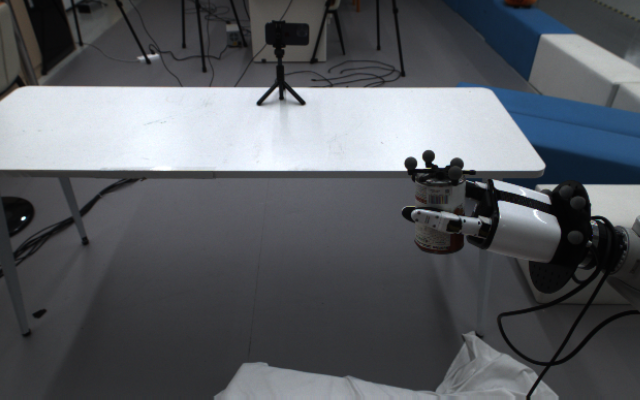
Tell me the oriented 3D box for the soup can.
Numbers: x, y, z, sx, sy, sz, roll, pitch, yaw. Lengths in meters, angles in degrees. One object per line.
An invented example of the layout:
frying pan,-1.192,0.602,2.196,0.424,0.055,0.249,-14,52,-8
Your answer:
soup can,0.165,0.013,0.665,0.067,0.101,0.067,-4,21,1
